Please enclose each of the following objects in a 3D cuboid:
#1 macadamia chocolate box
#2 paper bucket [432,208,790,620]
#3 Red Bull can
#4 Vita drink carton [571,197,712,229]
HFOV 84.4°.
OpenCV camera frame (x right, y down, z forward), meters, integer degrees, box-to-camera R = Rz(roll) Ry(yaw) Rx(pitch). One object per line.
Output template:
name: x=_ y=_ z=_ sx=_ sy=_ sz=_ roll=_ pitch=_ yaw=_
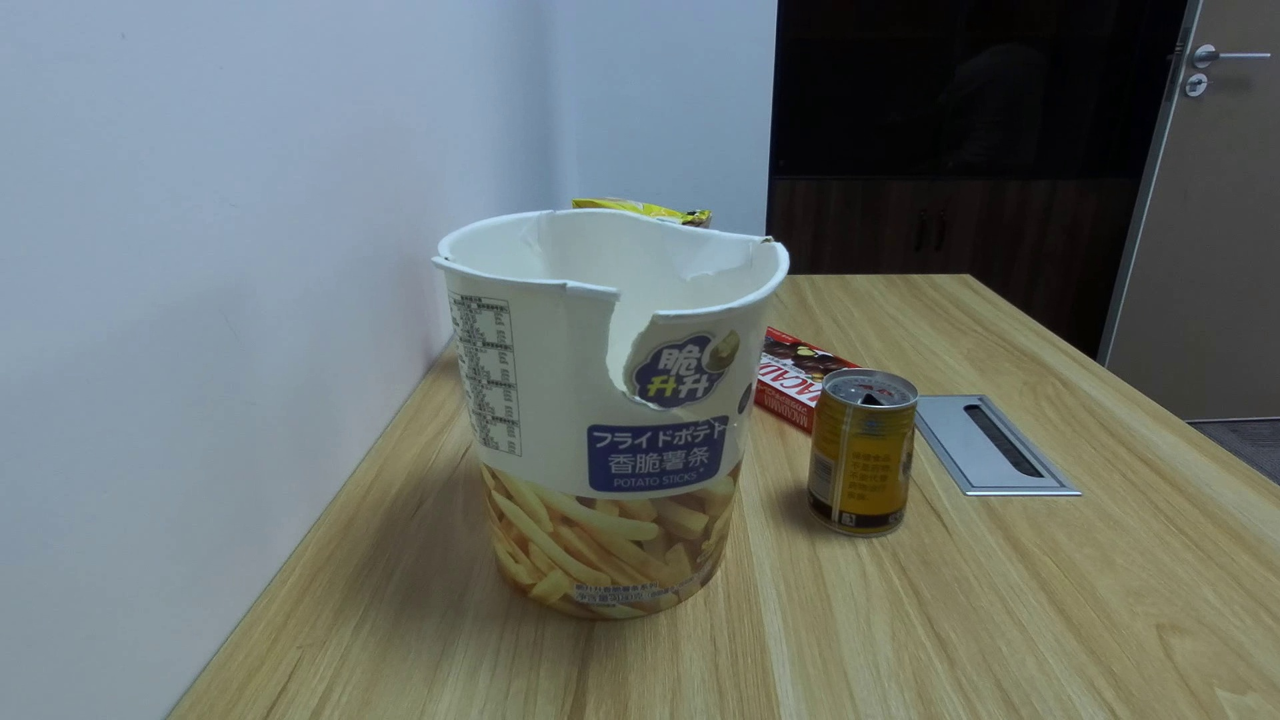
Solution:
macadamia chocolate box: x=0.139 y=0.016 z=0.650 sx=0.096 sy=0.027 sz=0.177 roll=-16 pitch=29 yaw=-30
paper bucket: x=-0.017 y=0.025 z=0.410 sx=0.202 sy=0.197 sz=0.146 roll=14 pitch=28 yaw=32
Red Bull can: x=0.145 y=0.058 z=0.463 sx=0.068 sy=0.093 sz=0.068 roll=-1 pitch=24 yaw=1
Vita drink carton: x=0.003 y=-0.117 z=0.628 sx=0.108 sy=0.042 sz=0.087 roll=13 pitch=19 yaw=25
